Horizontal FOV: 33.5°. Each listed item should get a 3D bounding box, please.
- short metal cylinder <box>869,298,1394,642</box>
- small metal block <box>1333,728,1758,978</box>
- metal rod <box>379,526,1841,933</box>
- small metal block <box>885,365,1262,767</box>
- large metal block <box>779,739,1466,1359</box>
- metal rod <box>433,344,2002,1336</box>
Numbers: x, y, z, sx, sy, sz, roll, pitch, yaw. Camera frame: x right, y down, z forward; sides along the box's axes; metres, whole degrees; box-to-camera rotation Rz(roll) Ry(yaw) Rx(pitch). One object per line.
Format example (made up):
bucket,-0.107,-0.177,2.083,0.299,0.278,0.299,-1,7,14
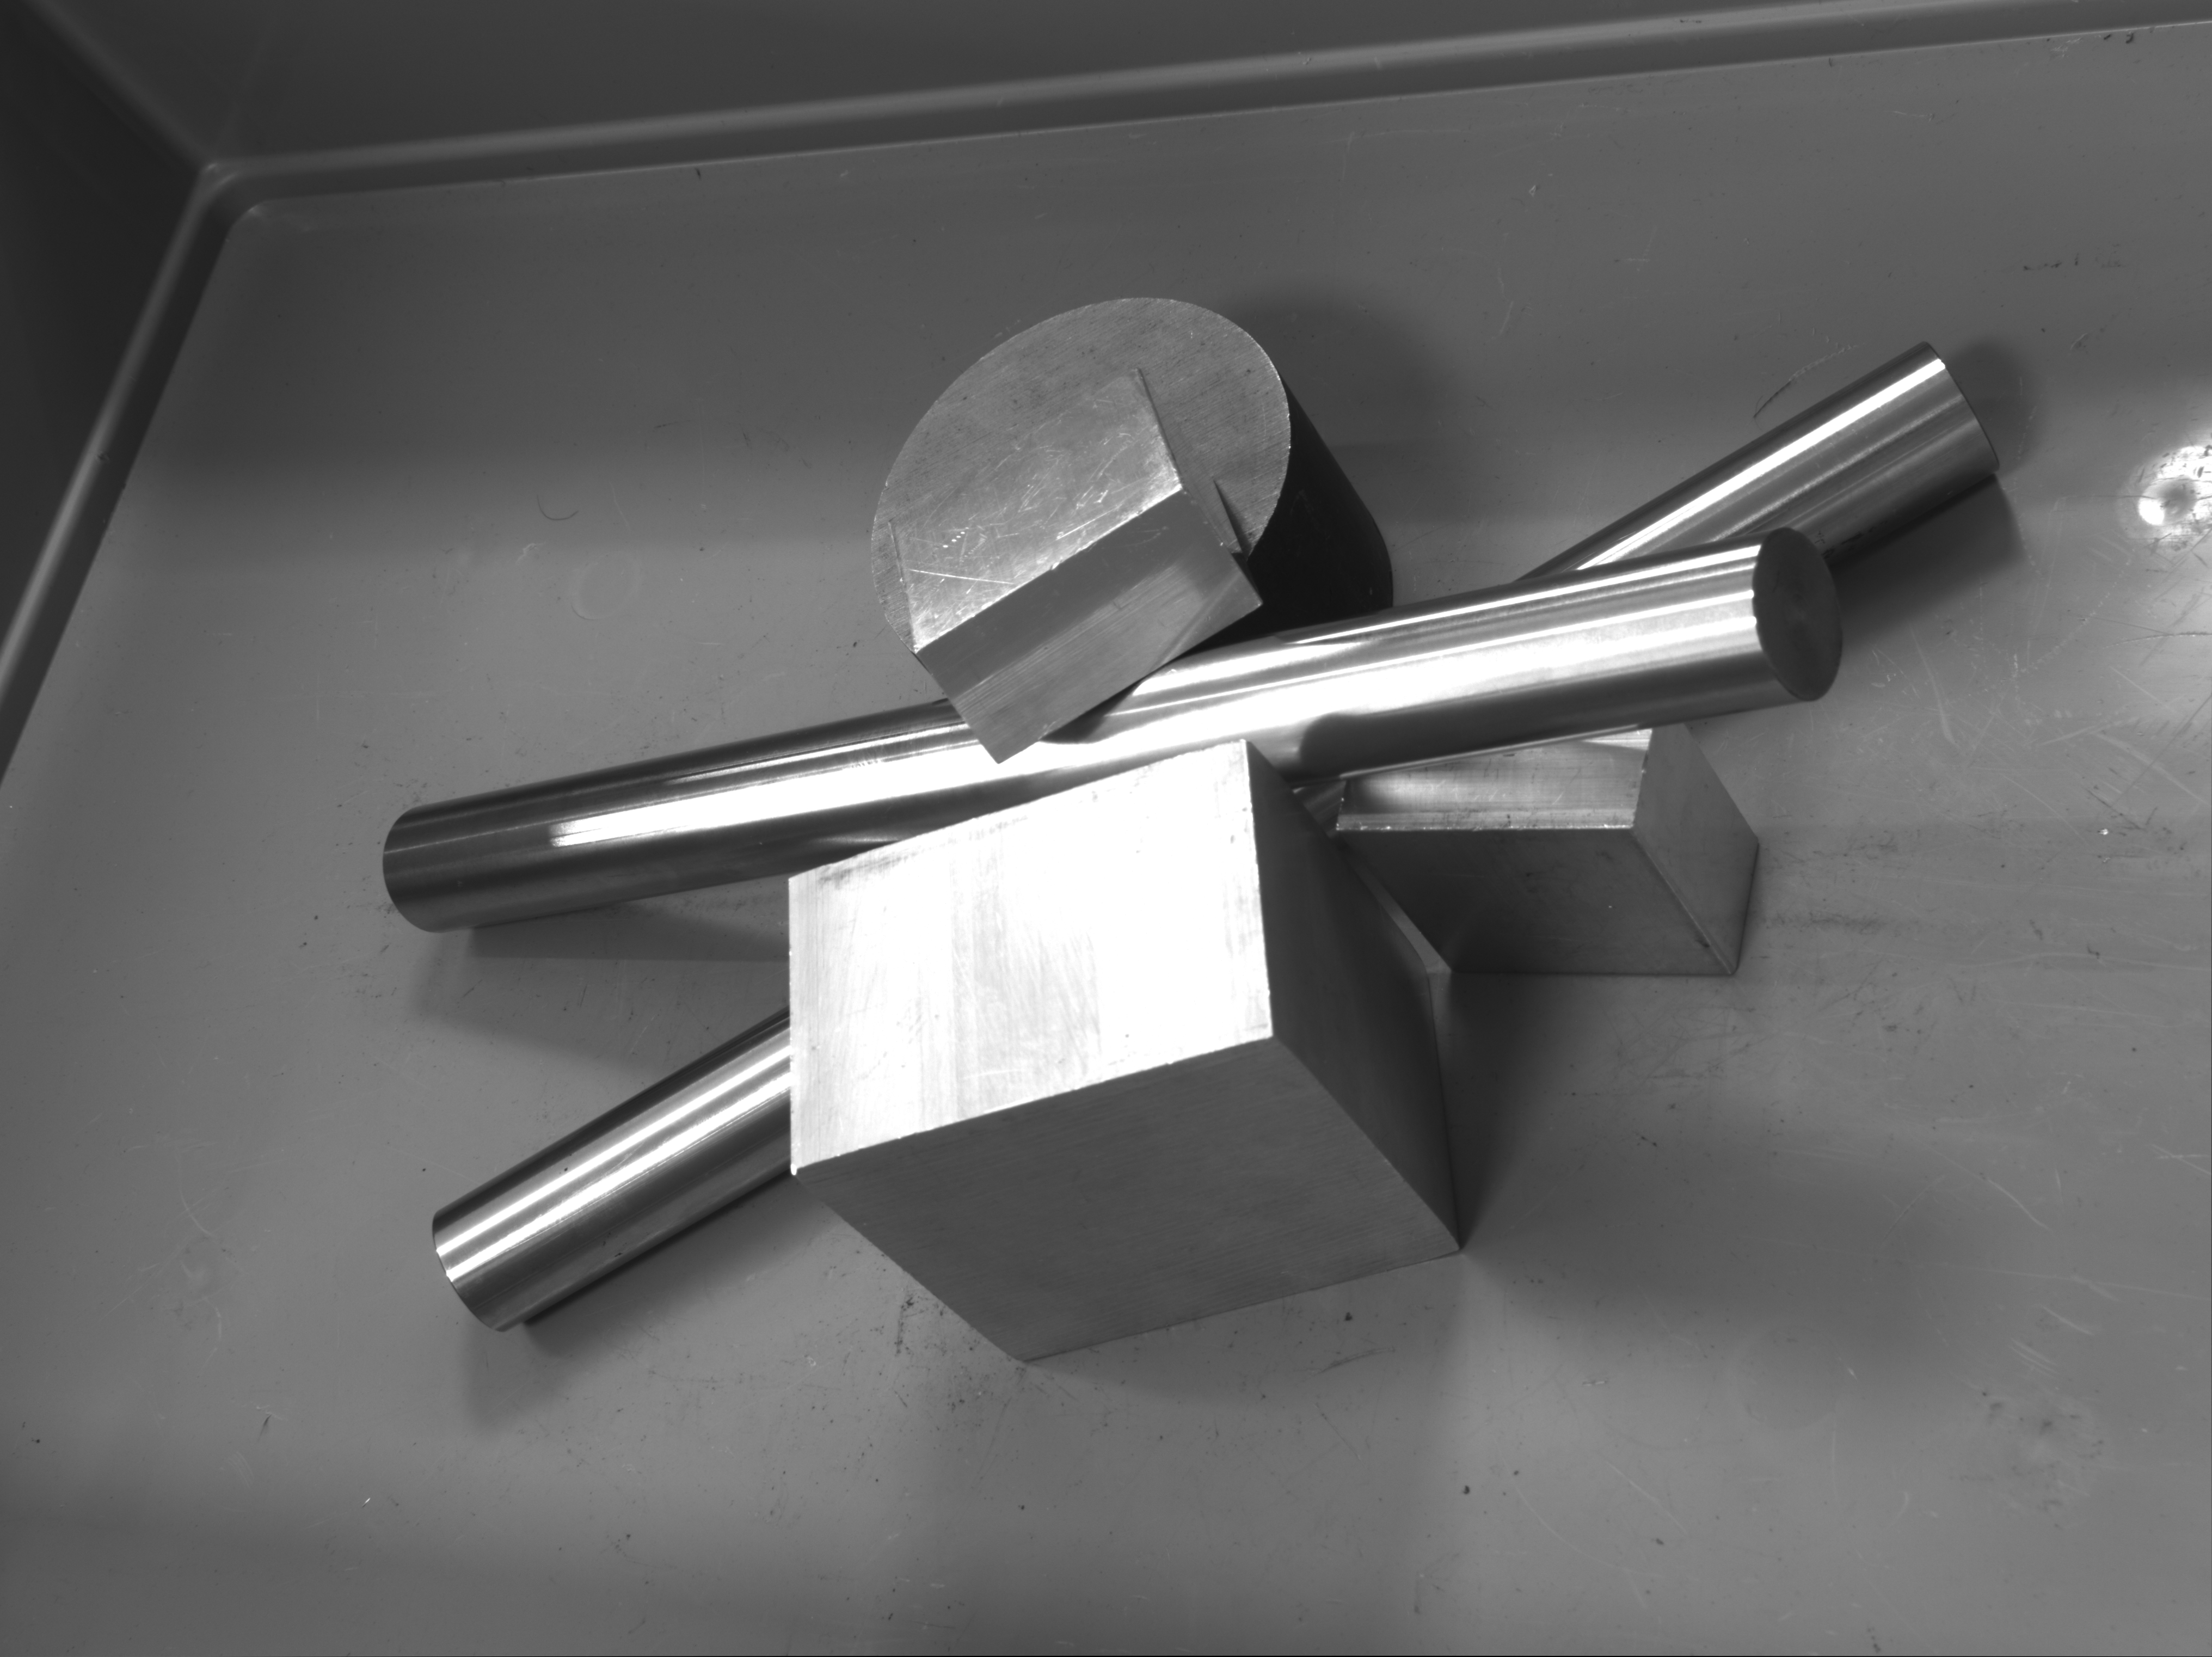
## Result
short metal cylinder,0.005,-0.047,0.654,0.080,0.050,0.080,-14,55,21
small metal block,0.071,0.001,0.589,0.050,0.050,0.025,-1,61,29
metal rod,-0.016,-0.011,0.614,0.299,0.025,0.025,-10,56,39
small metal block,-0.006,-0.044,0.599,0.050,0.025,0.050,-31,29,9
large metal block,0.003,0.038,0.582,0.080,0.080,0.050,-17,55,19
metal rod,0.015,0.005,0.634,0.300,0.025,0.025,-30,51,9
